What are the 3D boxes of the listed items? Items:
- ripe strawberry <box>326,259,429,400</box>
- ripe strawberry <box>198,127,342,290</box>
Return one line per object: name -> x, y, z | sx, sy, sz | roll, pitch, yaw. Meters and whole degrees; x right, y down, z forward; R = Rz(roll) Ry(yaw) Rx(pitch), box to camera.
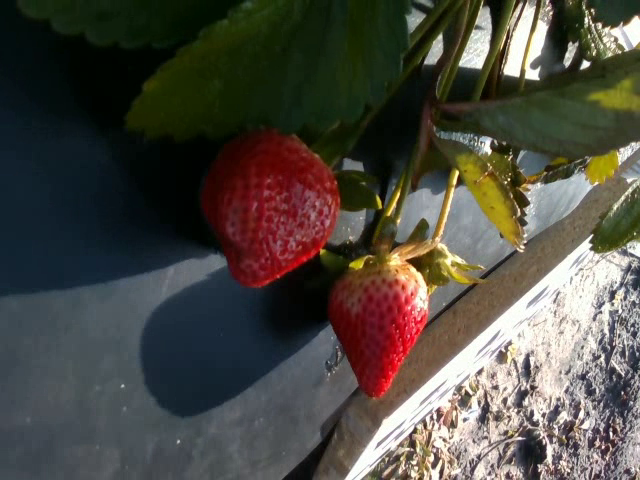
ripe strawberry -> 0.024, 0.033, 0.214 | 0.038, 0.053, 0.043 | -1, -3, 28
ripe strawberry -> -0.014, -0.008, 0.171 | 0.039, 0.048, 0.054 | 27, 39, 5
